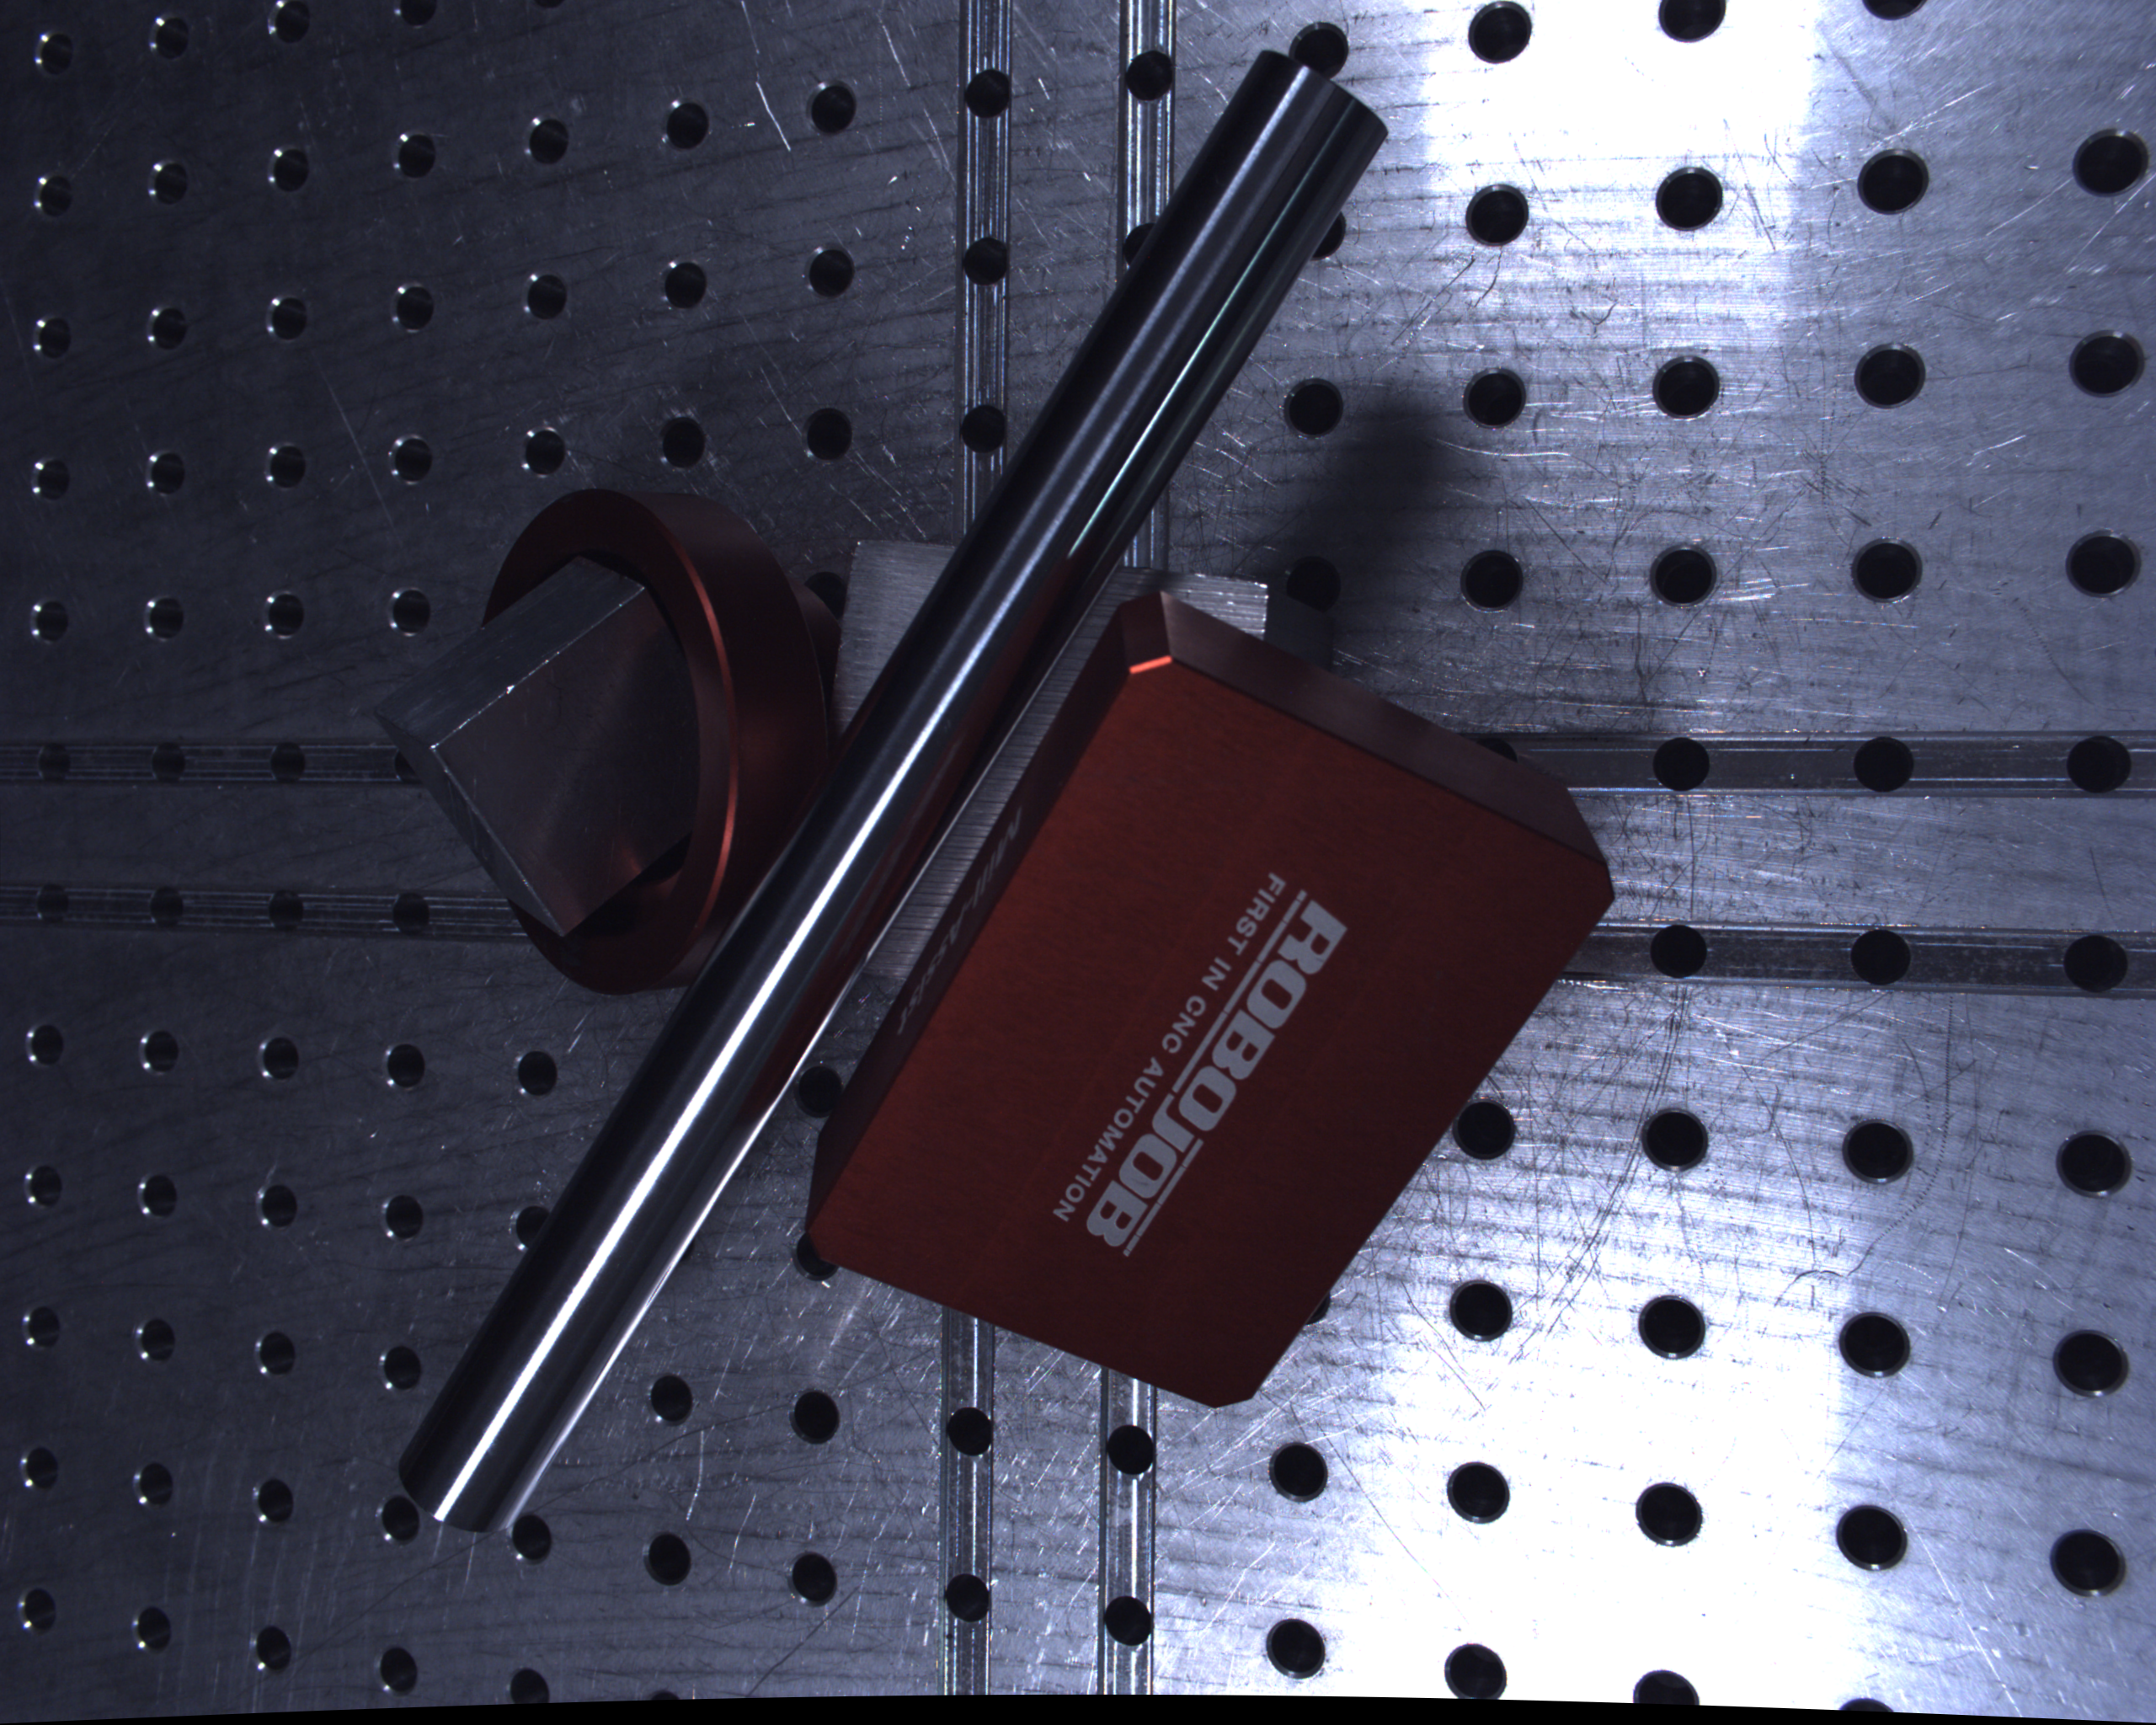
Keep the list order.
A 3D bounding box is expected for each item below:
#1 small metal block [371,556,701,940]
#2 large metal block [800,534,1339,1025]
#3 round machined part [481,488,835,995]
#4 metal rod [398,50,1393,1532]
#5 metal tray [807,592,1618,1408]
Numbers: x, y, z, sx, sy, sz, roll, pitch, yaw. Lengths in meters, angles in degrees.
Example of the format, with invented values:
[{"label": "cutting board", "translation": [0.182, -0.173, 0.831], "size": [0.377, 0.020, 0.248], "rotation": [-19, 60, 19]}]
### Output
[{"label": "small metal block", "translation": [-0.098, -0.022, 0.403], "size": [0.050, 0.050, 0.025], "rotation": [-42, 43, -21]}, {"label": "large metal block", "translation": [-0.001, -0.015, 0.398], "size": [0.080, 0.050, 0.079], "rotation": [10, 93, 19]}, {"label": "round machined part", "translation": [-0.079, -0.024, 0.416], "size": [0.098, 0.042, 0.097], "rotation": [4, 95, 44]}, {"label": "metal rod", "translation": [-0.039, -0.004, 0.372], "size": [0.025, 0.025, 0.299], "rotation": [36, 101, 16]}, {"label": "metal tray", "translation": [0.020, 0.029, 0.366], "size": [0.090, 0.030, 0.129], "rotation": [24, 115, -14]}]
